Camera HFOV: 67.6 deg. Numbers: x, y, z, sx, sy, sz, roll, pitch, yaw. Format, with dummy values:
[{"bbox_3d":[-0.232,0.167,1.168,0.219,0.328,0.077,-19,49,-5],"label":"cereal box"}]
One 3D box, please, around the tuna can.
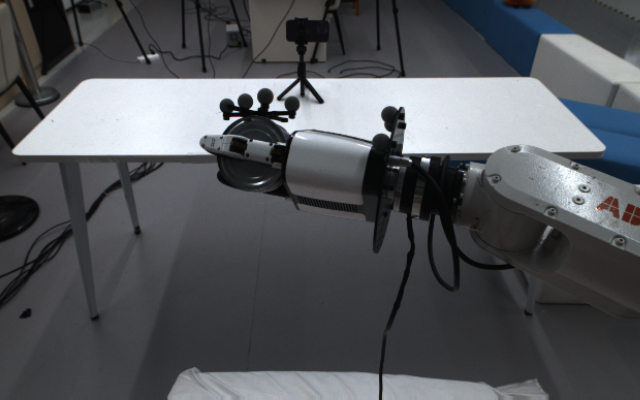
[{"bbox_3d":[-0.071,-0.051,0.557,0.085,0.085,0.034,12,-1,14],"label":"tuna can"}]
